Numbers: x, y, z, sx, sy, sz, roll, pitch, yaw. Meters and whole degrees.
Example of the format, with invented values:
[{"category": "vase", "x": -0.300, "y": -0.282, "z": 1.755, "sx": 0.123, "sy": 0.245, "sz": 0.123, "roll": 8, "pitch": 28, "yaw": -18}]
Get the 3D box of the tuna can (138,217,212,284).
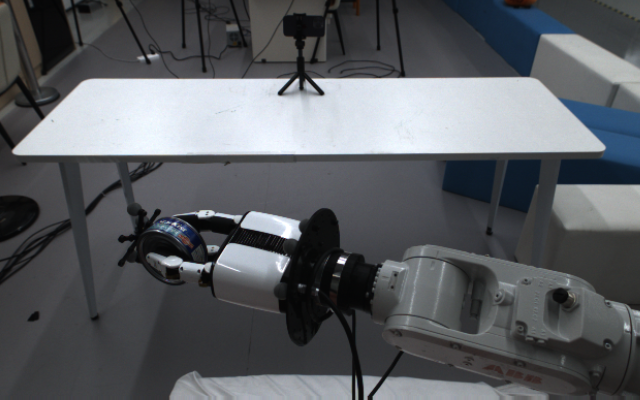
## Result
[{"category": "tuna can", "x": -0.185, "y": 0.068, "z": 0.613, "sx": 0.085, "sy": 0.085, "sz": 0.034, "roll": 12, "pitch": 31, "yaw": 13}]
